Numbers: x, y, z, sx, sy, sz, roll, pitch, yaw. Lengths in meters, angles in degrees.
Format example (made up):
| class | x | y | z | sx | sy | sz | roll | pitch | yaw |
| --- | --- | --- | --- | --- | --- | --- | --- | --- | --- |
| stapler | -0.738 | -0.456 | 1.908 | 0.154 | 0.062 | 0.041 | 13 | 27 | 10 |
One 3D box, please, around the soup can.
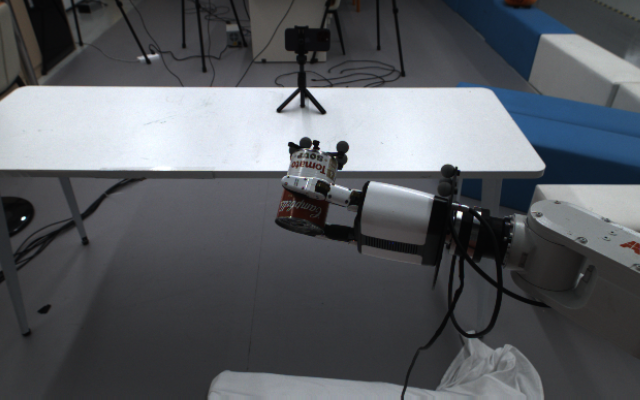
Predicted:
| class | x | y | z | sx | sy | sz | roll | pitch | yaw |
| --- | --- | --- | --- | --- | --- | --- | --- | --- | --- |
| soup can | -0.016 | -0.011 | 0.658 | 0.067 | 0.067 | 0.101 | 9 | 72 | 10 |
